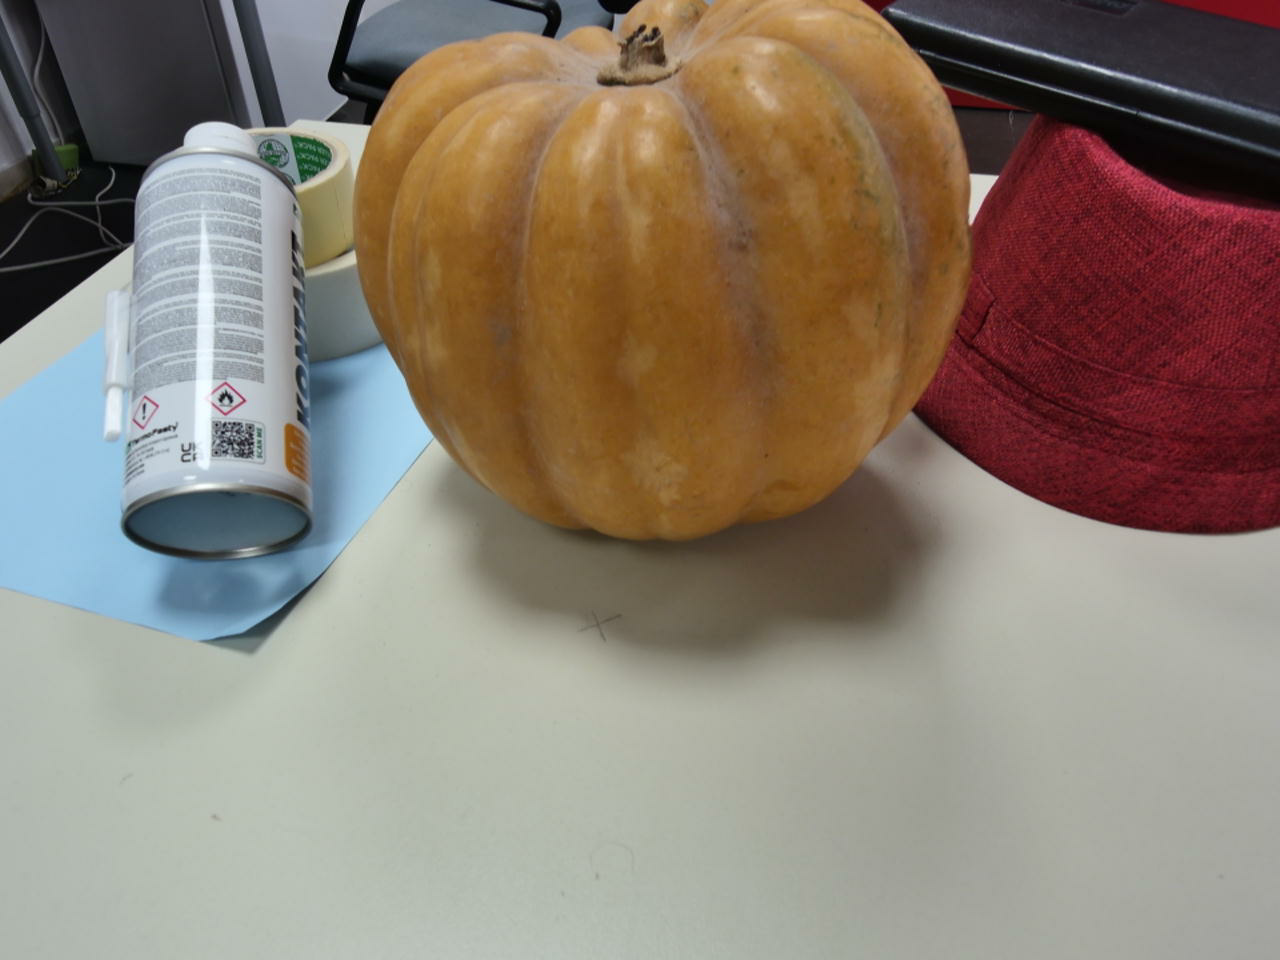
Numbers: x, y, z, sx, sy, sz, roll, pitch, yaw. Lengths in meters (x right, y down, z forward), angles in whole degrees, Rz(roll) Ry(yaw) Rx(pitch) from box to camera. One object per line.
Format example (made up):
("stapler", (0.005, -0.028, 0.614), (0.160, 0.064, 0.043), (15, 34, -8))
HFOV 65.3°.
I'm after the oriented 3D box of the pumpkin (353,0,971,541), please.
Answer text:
("pumpkin", (0.011, -0.082, 0.388), (0.230, 0.194, 0.230), (0, 39, 0))
